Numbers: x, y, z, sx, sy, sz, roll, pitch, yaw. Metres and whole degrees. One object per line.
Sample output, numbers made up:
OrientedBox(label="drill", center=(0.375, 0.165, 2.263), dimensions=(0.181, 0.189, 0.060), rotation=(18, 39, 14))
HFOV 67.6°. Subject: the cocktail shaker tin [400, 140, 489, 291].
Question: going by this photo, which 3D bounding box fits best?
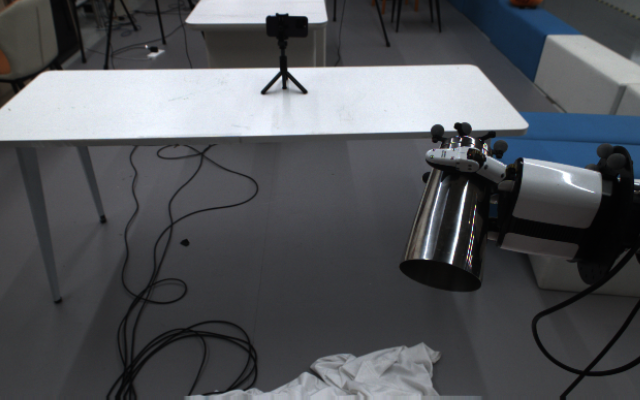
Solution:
OrientedBox(label="cocktail shaker tin", center=(0.160, 0.008, 0.572), dimensions=(0.093, 0.093, 0.170), rotation=(13, 65, 15))
